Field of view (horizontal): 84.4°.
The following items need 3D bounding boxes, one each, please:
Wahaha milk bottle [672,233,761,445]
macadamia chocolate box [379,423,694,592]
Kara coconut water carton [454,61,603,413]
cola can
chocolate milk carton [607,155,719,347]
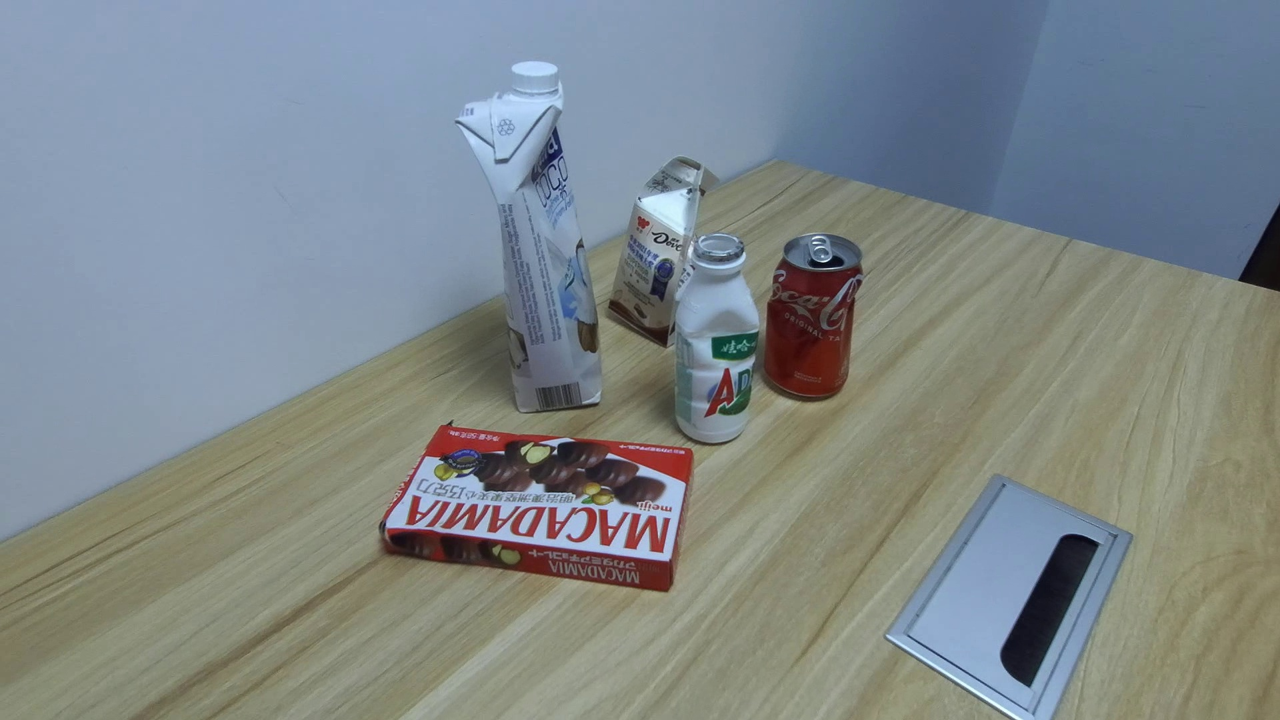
[{"bbox_3d":[0.050,-0.012,0.473,0.056,0.148,0.056,0,37,0],"label":"Wahaha milk bottle"},{"bbox_3d":[-0.062,0.087,0.449,0.183,0.028,0.106,4,36,10],"label":"macadamia chocolate box"},{"bbox_3d":[-0.070,-0.079,0.497,0.069,0.239,0.115,-5,33,-1],"label":"Kara coconut water carton"},{"bbox_3d":[0.131,-0.033,0.532,0.066,0.117,0.066,22,42,31],"label":"cola can"},{"bbox_3d":[0.029,-0.097,0.600,0.076,0.155,0.089,27,30,29],"label":"chocolate milk carton"}]
